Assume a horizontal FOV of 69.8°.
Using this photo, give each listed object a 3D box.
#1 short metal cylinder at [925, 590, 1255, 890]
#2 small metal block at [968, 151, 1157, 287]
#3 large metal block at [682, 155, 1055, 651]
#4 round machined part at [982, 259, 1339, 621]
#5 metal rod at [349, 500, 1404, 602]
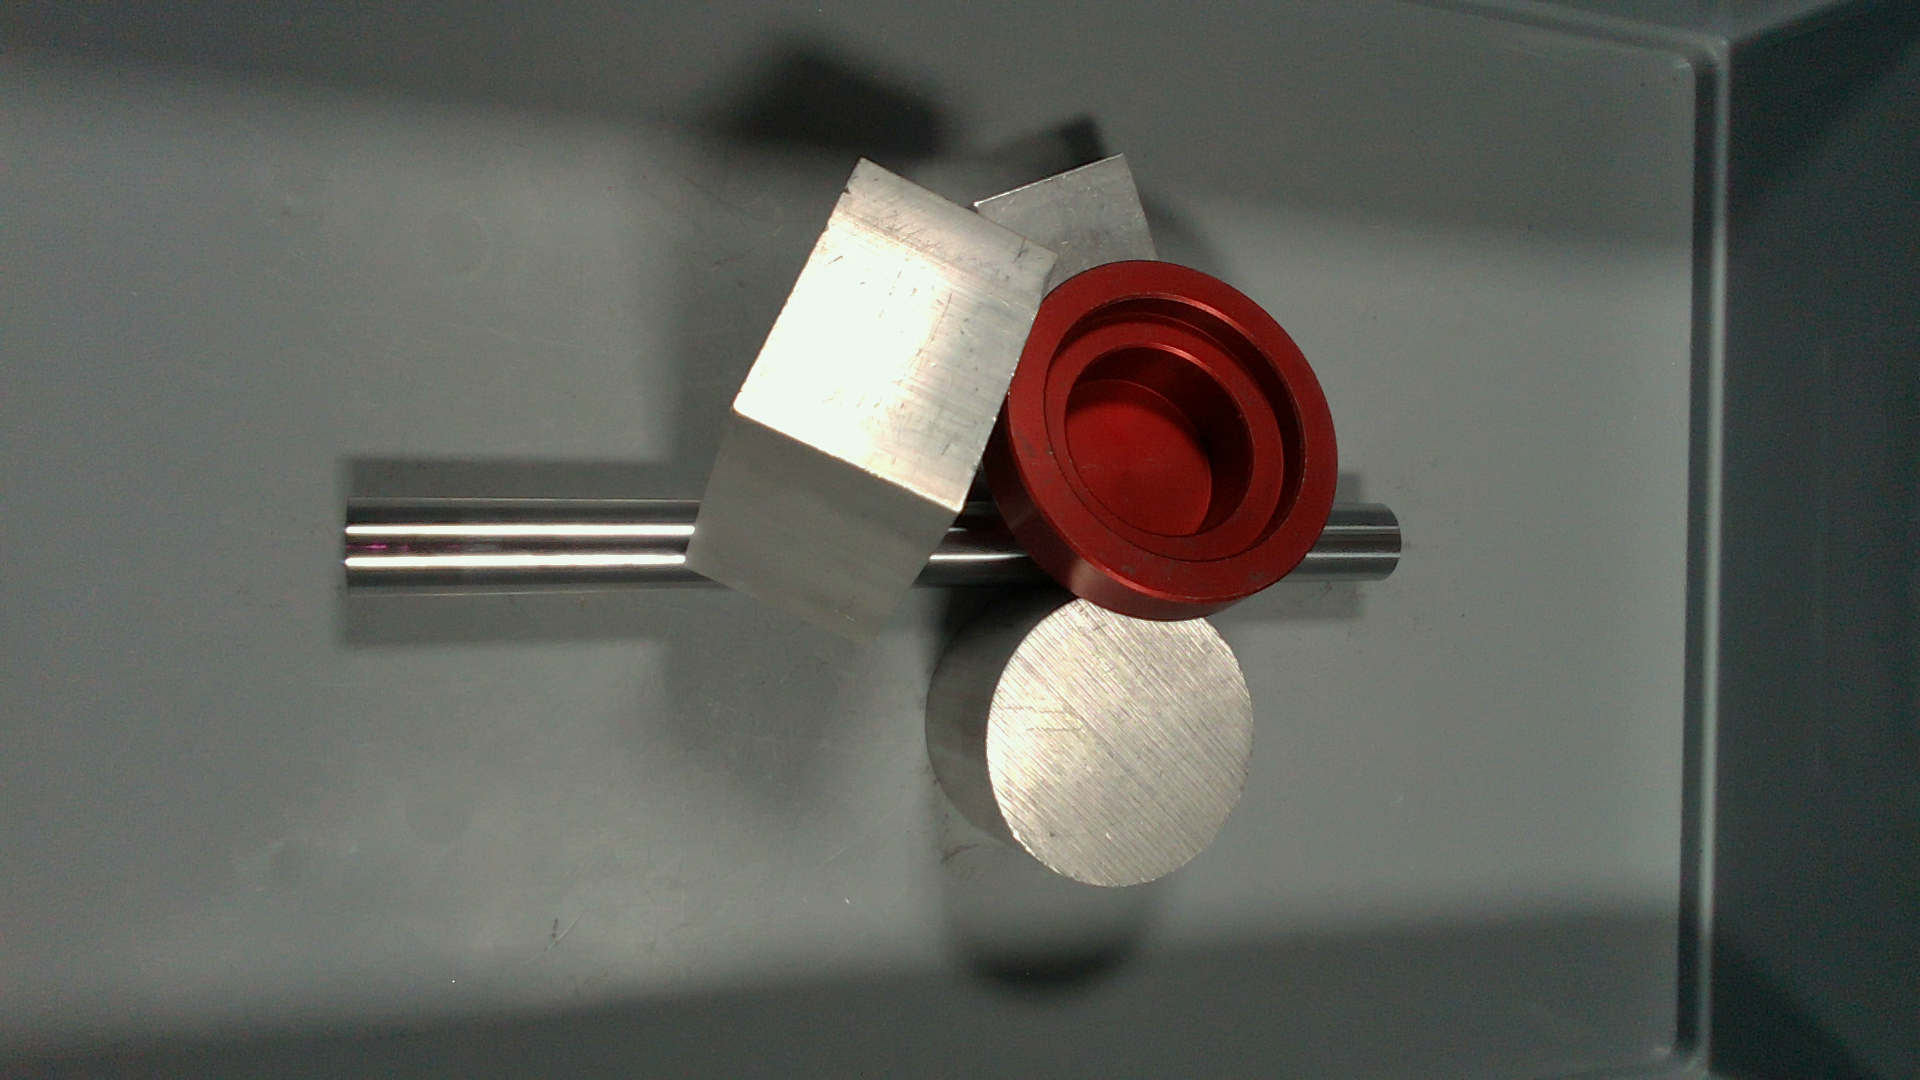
[{"bbox_3d":[0.036,0.053,0.391,0.080,0.050,0.080,0,90,-20],"label":"short metal cylinder"},{"bbox_3d":[0.029,-0.080,0.403,0.050,0.025,0.050,-22,98,-19],"label":"small metal block"},{"bbox_3d":[-0.024,-0.031,0.339,0.050,0.080,0.080,24,59,-7],"label":"large metal block"},{"bbox_3d":[0.051,-0.024,0.382,0.098,0.042,0.098,6,71,-18],"label":"round machined part"},{"bbox_3d":[-0.007,0.002,0.388,0.301,0.025,0.025,0,90,-20],"label":"metal rod"}]
